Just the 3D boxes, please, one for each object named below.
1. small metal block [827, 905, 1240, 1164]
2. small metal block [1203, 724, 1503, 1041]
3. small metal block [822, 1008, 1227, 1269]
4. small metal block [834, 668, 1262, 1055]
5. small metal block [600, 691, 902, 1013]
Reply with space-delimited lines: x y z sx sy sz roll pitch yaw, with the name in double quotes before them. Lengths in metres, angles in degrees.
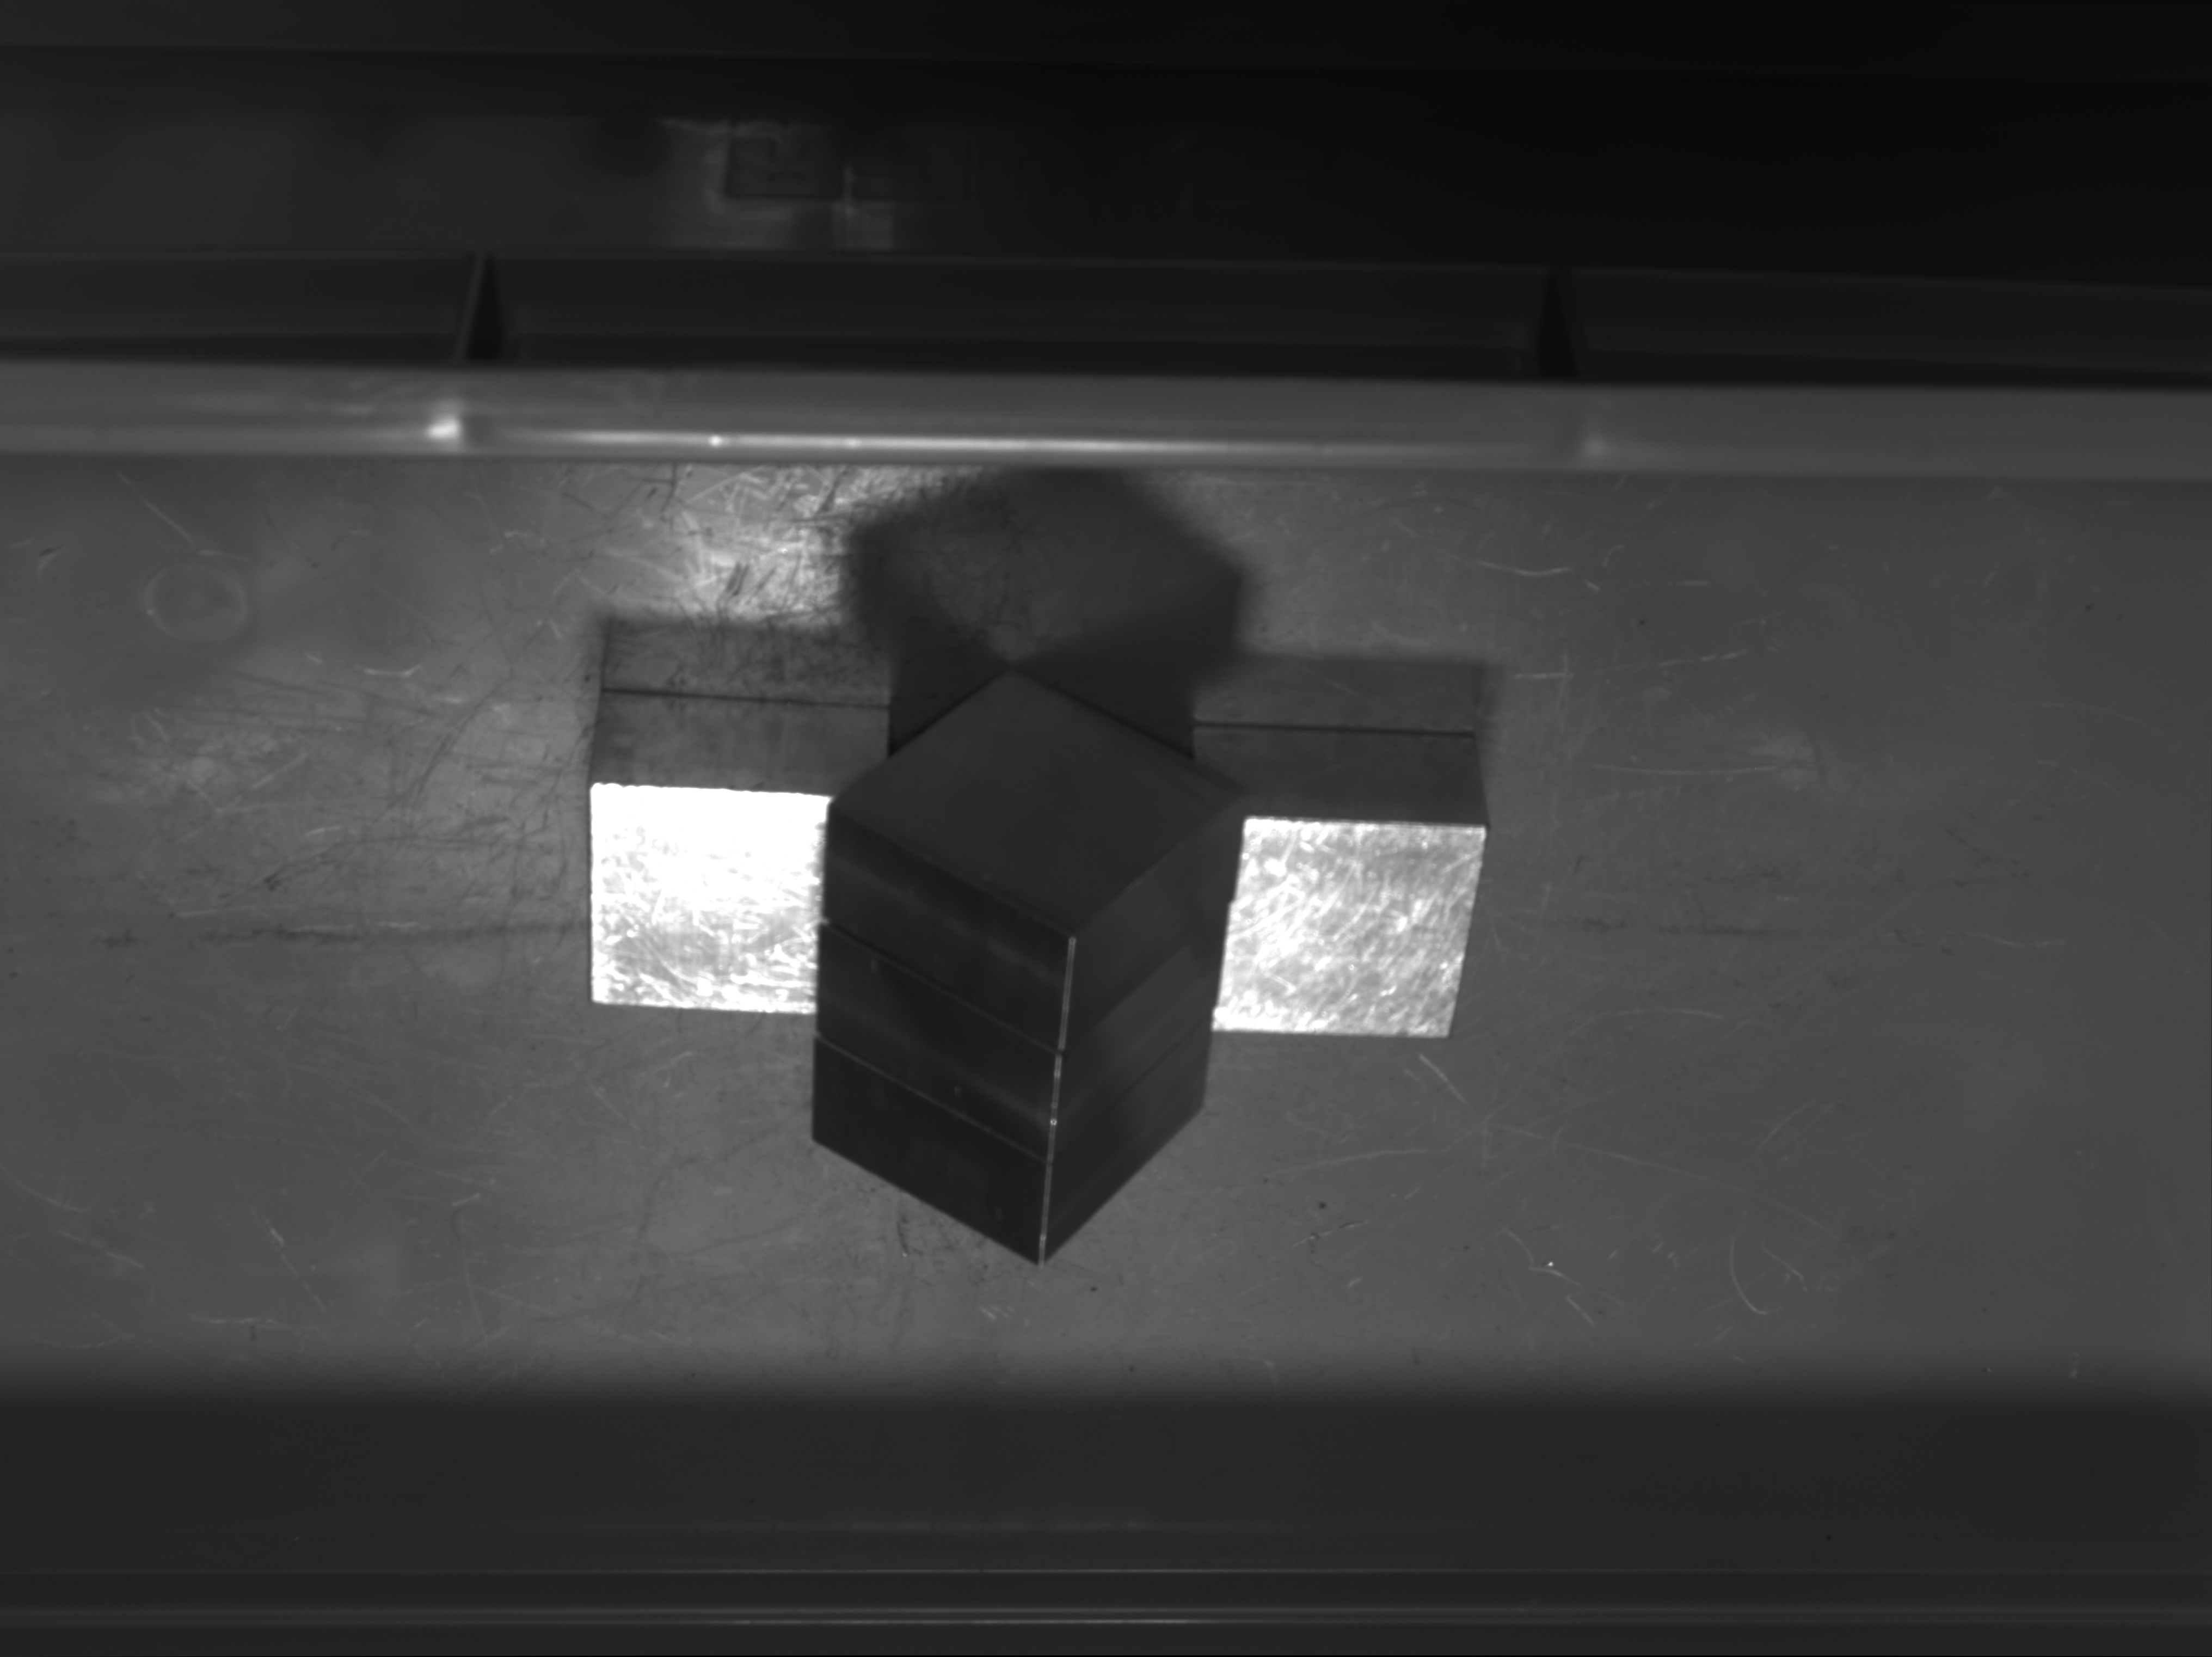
"small metal block" -0.012 0.024 0.627 0.050 0.050 0.025 26 134 24
"small metal block" 0.041 0.010 0.647 0.050 0.025 0.050 2 130 -4
"small metal block" -0.014 0.043 0.643 0.050 0.050 0.025 26 134 24
"small metal block" -0.010 0.005 0.610 0.050 0.050 0.025 27 134 24
"small metal block" -0.062 0.005 0.639 0.050 0.025 0.050 3 130 -4
